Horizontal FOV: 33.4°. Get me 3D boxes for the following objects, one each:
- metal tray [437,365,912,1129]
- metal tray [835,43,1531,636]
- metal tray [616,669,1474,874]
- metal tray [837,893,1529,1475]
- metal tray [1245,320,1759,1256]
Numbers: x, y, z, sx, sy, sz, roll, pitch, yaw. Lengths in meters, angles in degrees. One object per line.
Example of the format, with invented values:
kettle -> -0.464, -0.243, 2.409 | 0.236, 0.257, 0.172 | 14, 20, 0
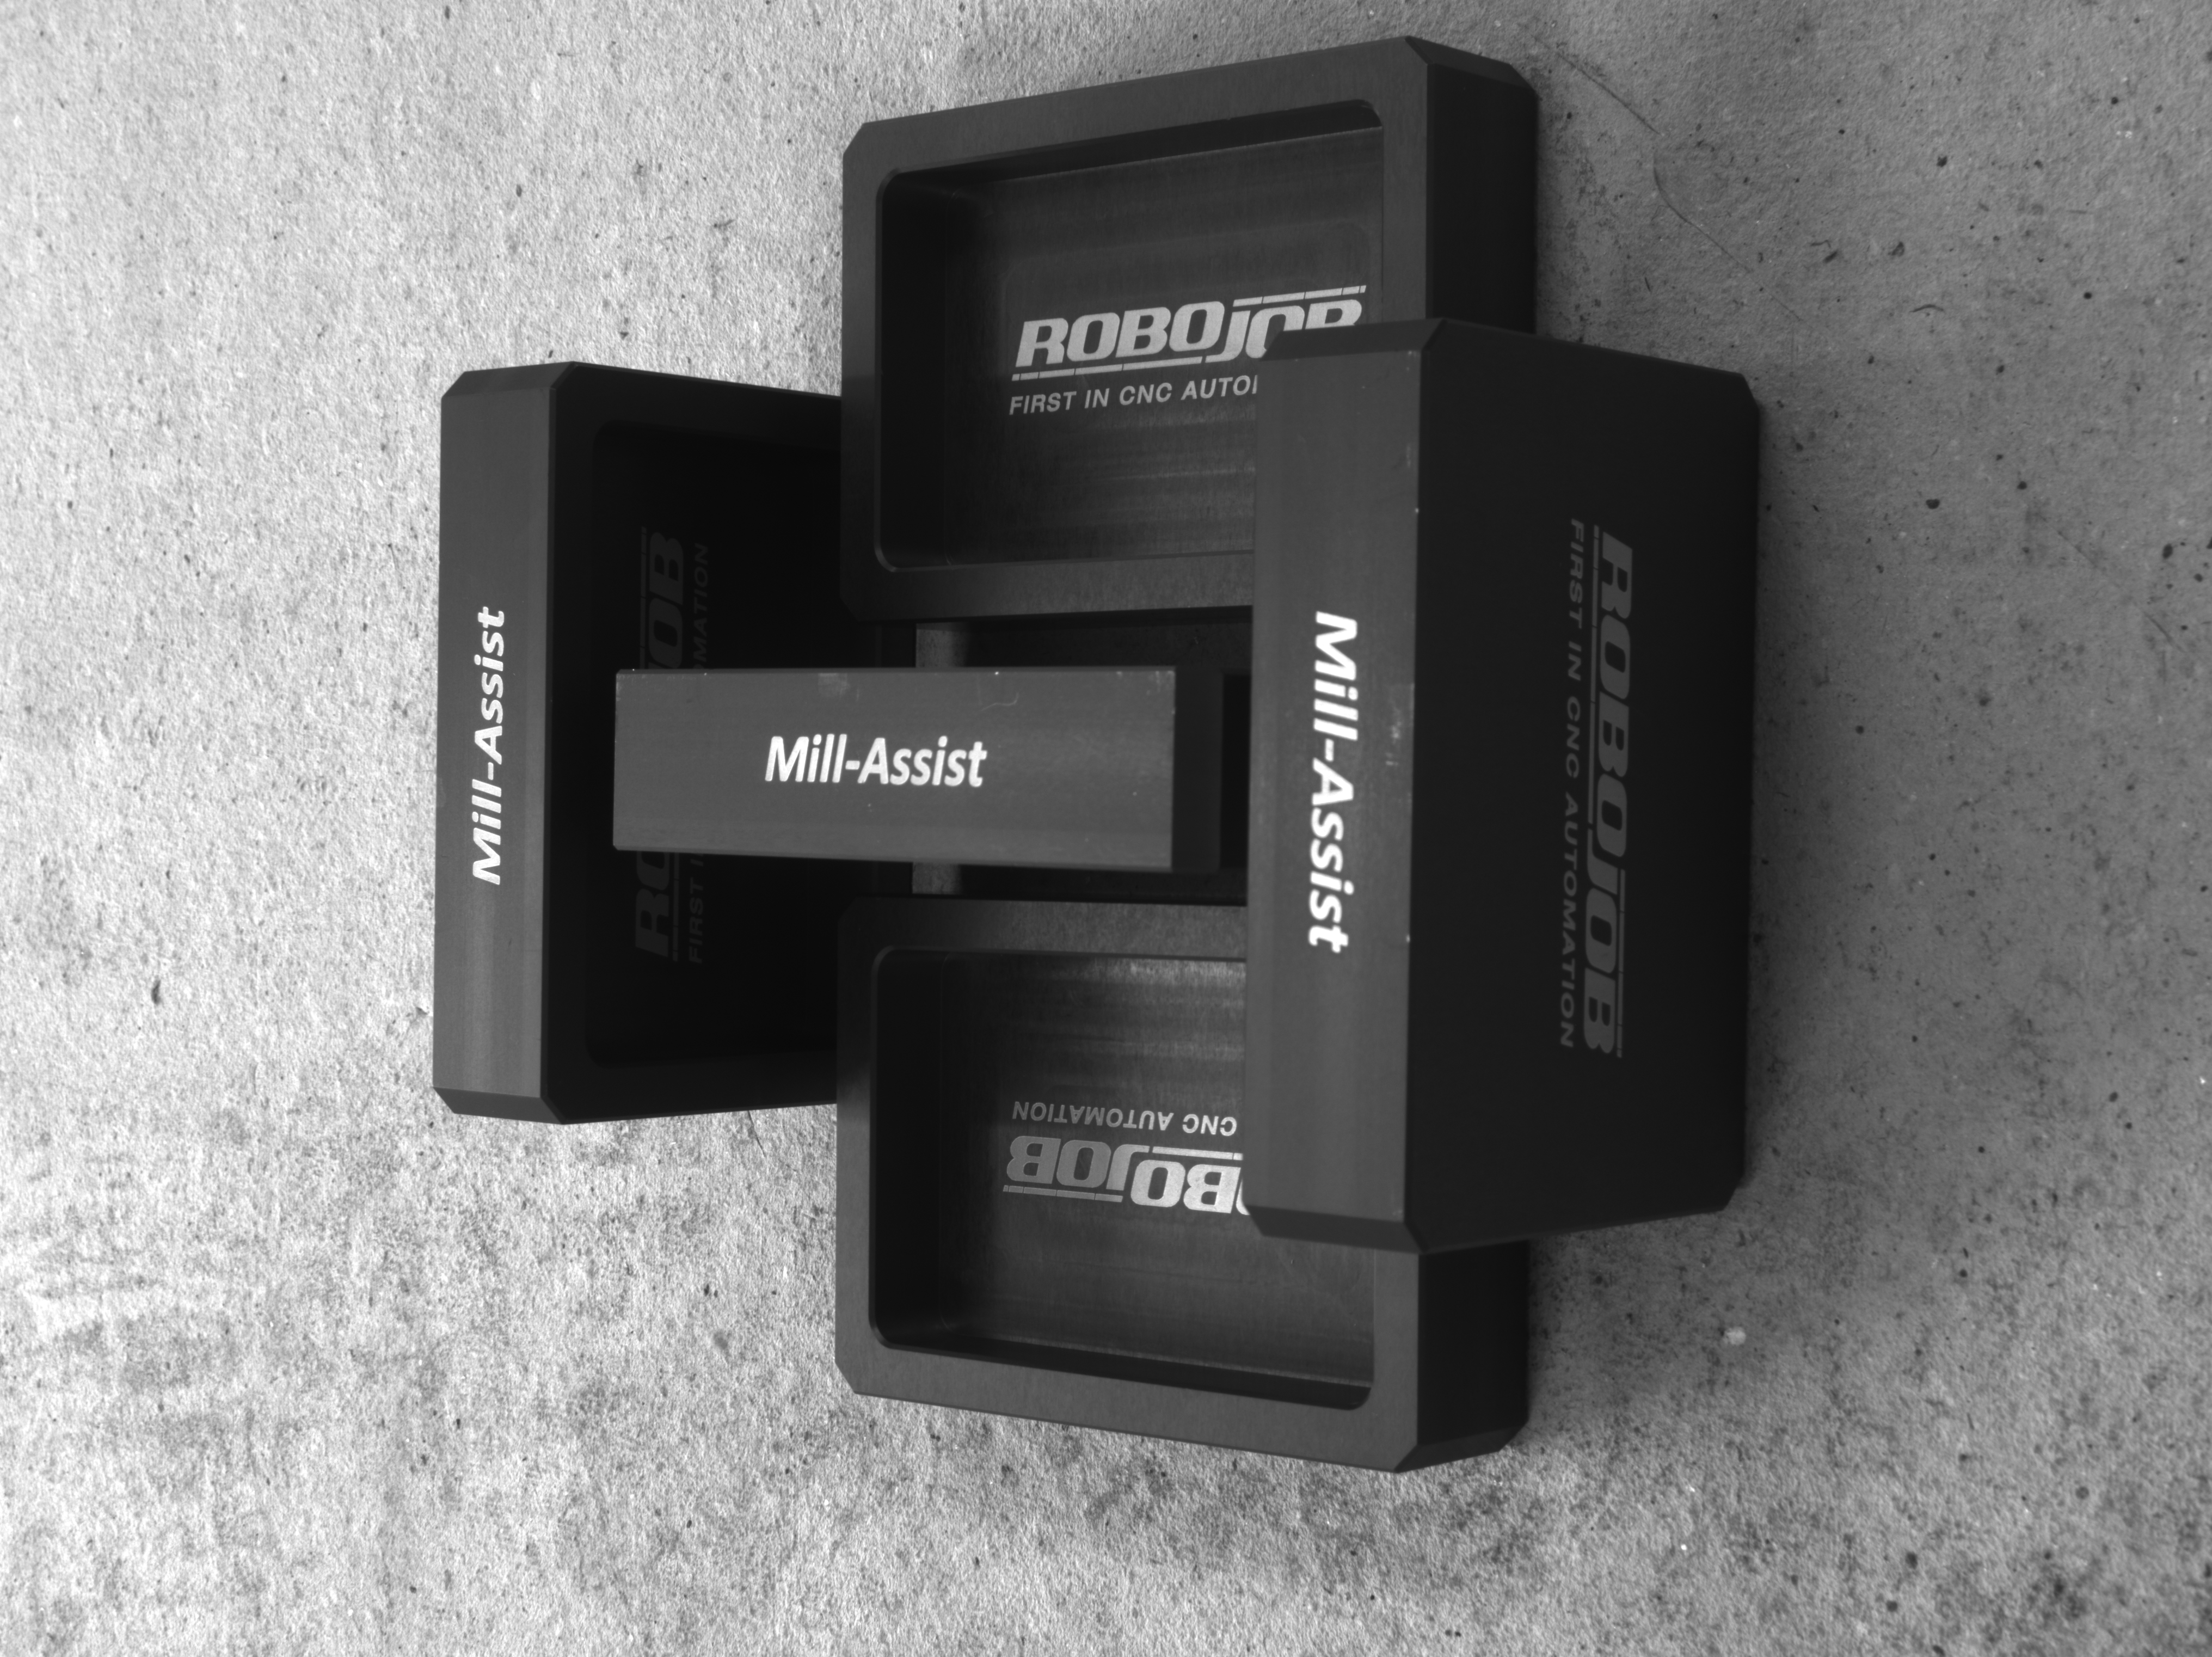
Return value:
metal tray -> -0.076, -0.014, 0.667 | 0.030, 0.090, 0.130 | 1, 91, 40
metal tray -> 0.011, -0.080, 0.633 | 0.130, 0.030, 0.090 | 0, 93, 40
metal tray -> -0.007, -0.010, 0.610 | 0.130, 0.090, 0.030 | 1, 92, 40
metal tray -> 0.011, 0.057, 0.635 | 0.130, 0.030, 0.090 | 1, 89, 40
metal tray -> 0.061, -0.006, 0.551 | 0.030, 0.090, 0.130 | 2, 91, 40
